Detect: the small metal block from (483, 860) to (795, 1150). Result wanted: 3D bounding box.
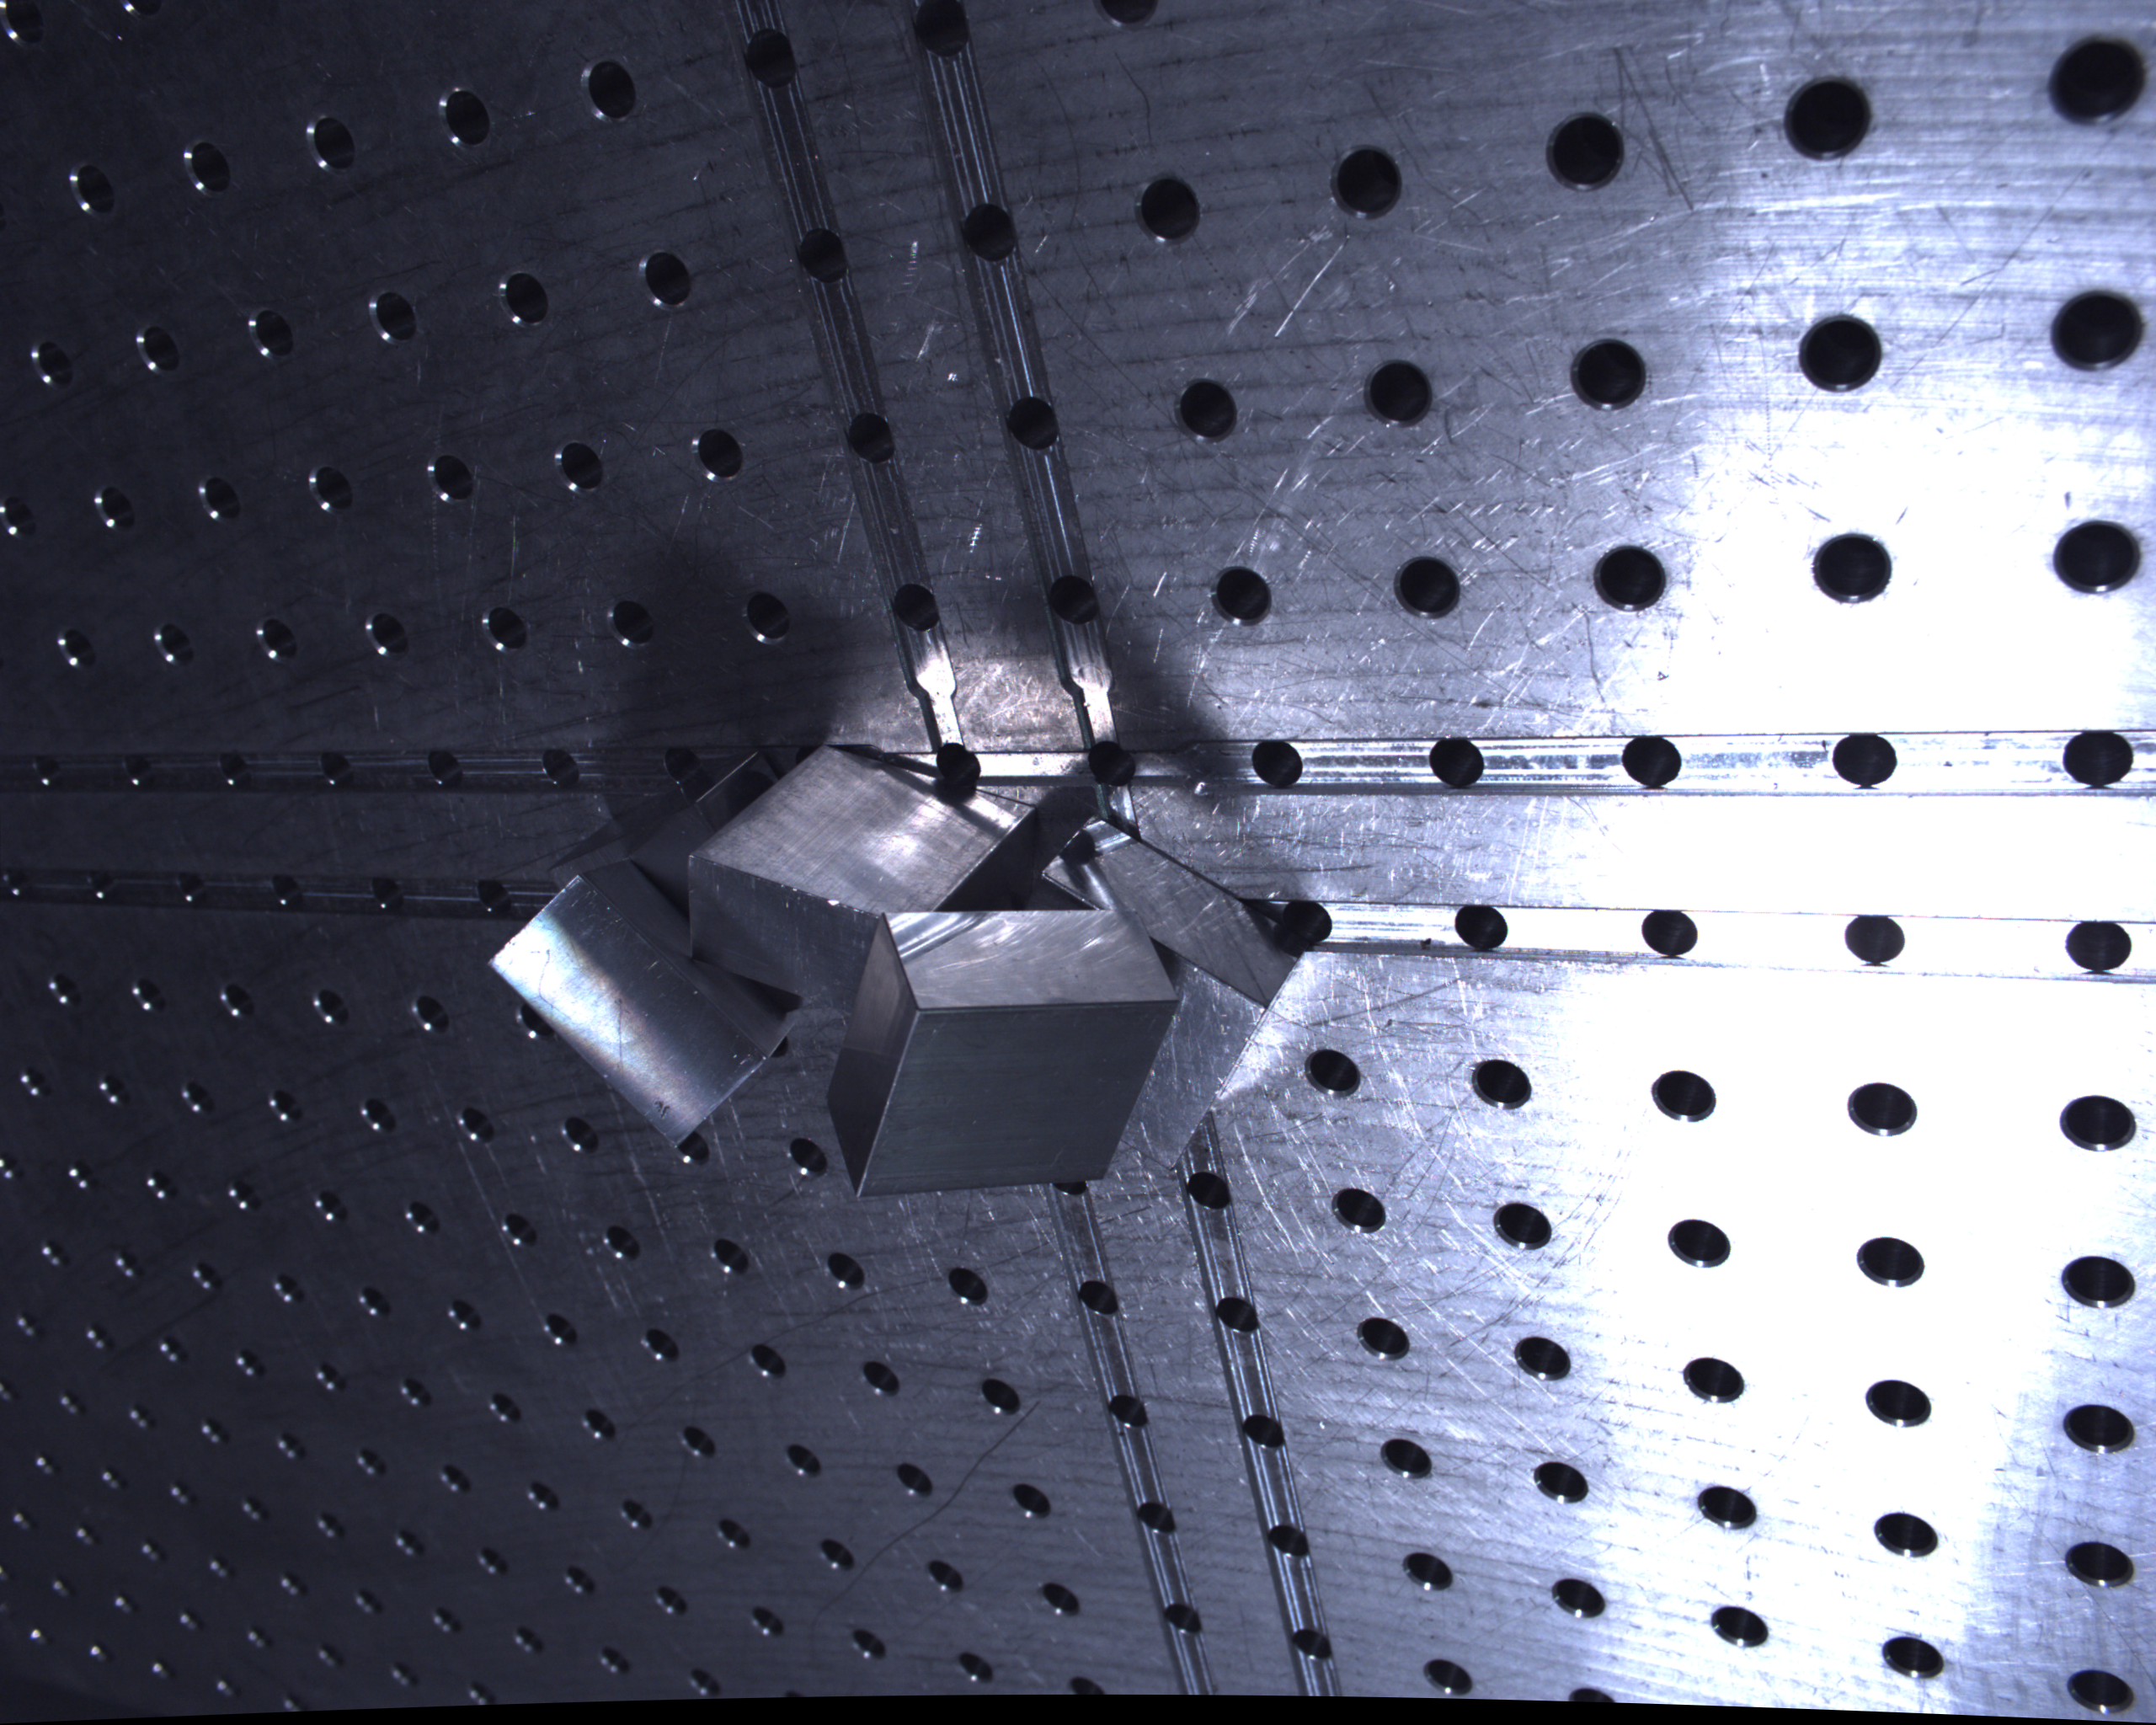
[{"bbox_3d":[-0.086,0.027,0.419,0.025,0.050,0.050,-45,94,1],"label":"small metal block"}]

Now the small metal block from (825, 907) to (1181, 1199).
[{"bbox_3d":[-0.015,0.035,0.389,0.050,0.025,0.050,0,131,-25],"label":"small metal block"}]

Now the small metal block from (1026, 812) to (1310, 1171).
[{"bbox_3d":[0.011,0.026,0.421,0.050,0.025,0.050,31,128,7],"label":"small metal block"}]

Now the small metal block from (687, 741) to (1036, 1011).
[{"bbox_3d":[-0.043,0.004,0.418,0.050,0.050,0.025,17,125,18],"label":"small metal block"}]

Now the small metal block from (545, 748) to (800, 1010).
[{"bbox_3d":[-0.080,0.009,0.457,0.050,0.025,0.050,-21,108,35],"label":"small metal block"}]
